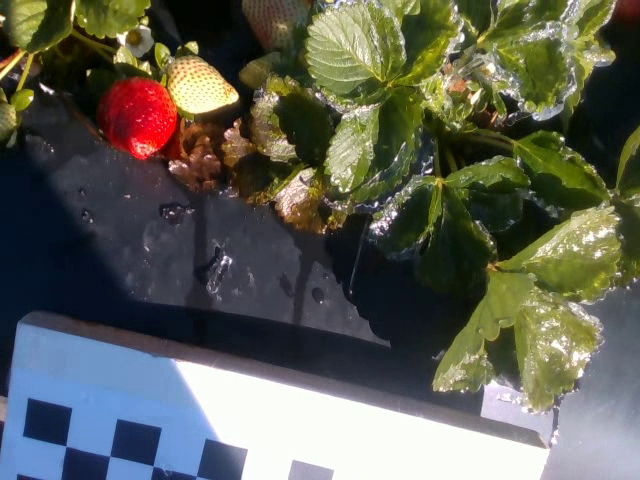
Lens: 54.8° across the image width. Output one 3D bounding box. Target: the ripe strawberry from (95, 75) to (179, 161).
[{"bbox_3d":[-0.084,-0.052,0.283,0.040,0.042,0.053,-22,42,2],"label":"ripe strawberry"}]
